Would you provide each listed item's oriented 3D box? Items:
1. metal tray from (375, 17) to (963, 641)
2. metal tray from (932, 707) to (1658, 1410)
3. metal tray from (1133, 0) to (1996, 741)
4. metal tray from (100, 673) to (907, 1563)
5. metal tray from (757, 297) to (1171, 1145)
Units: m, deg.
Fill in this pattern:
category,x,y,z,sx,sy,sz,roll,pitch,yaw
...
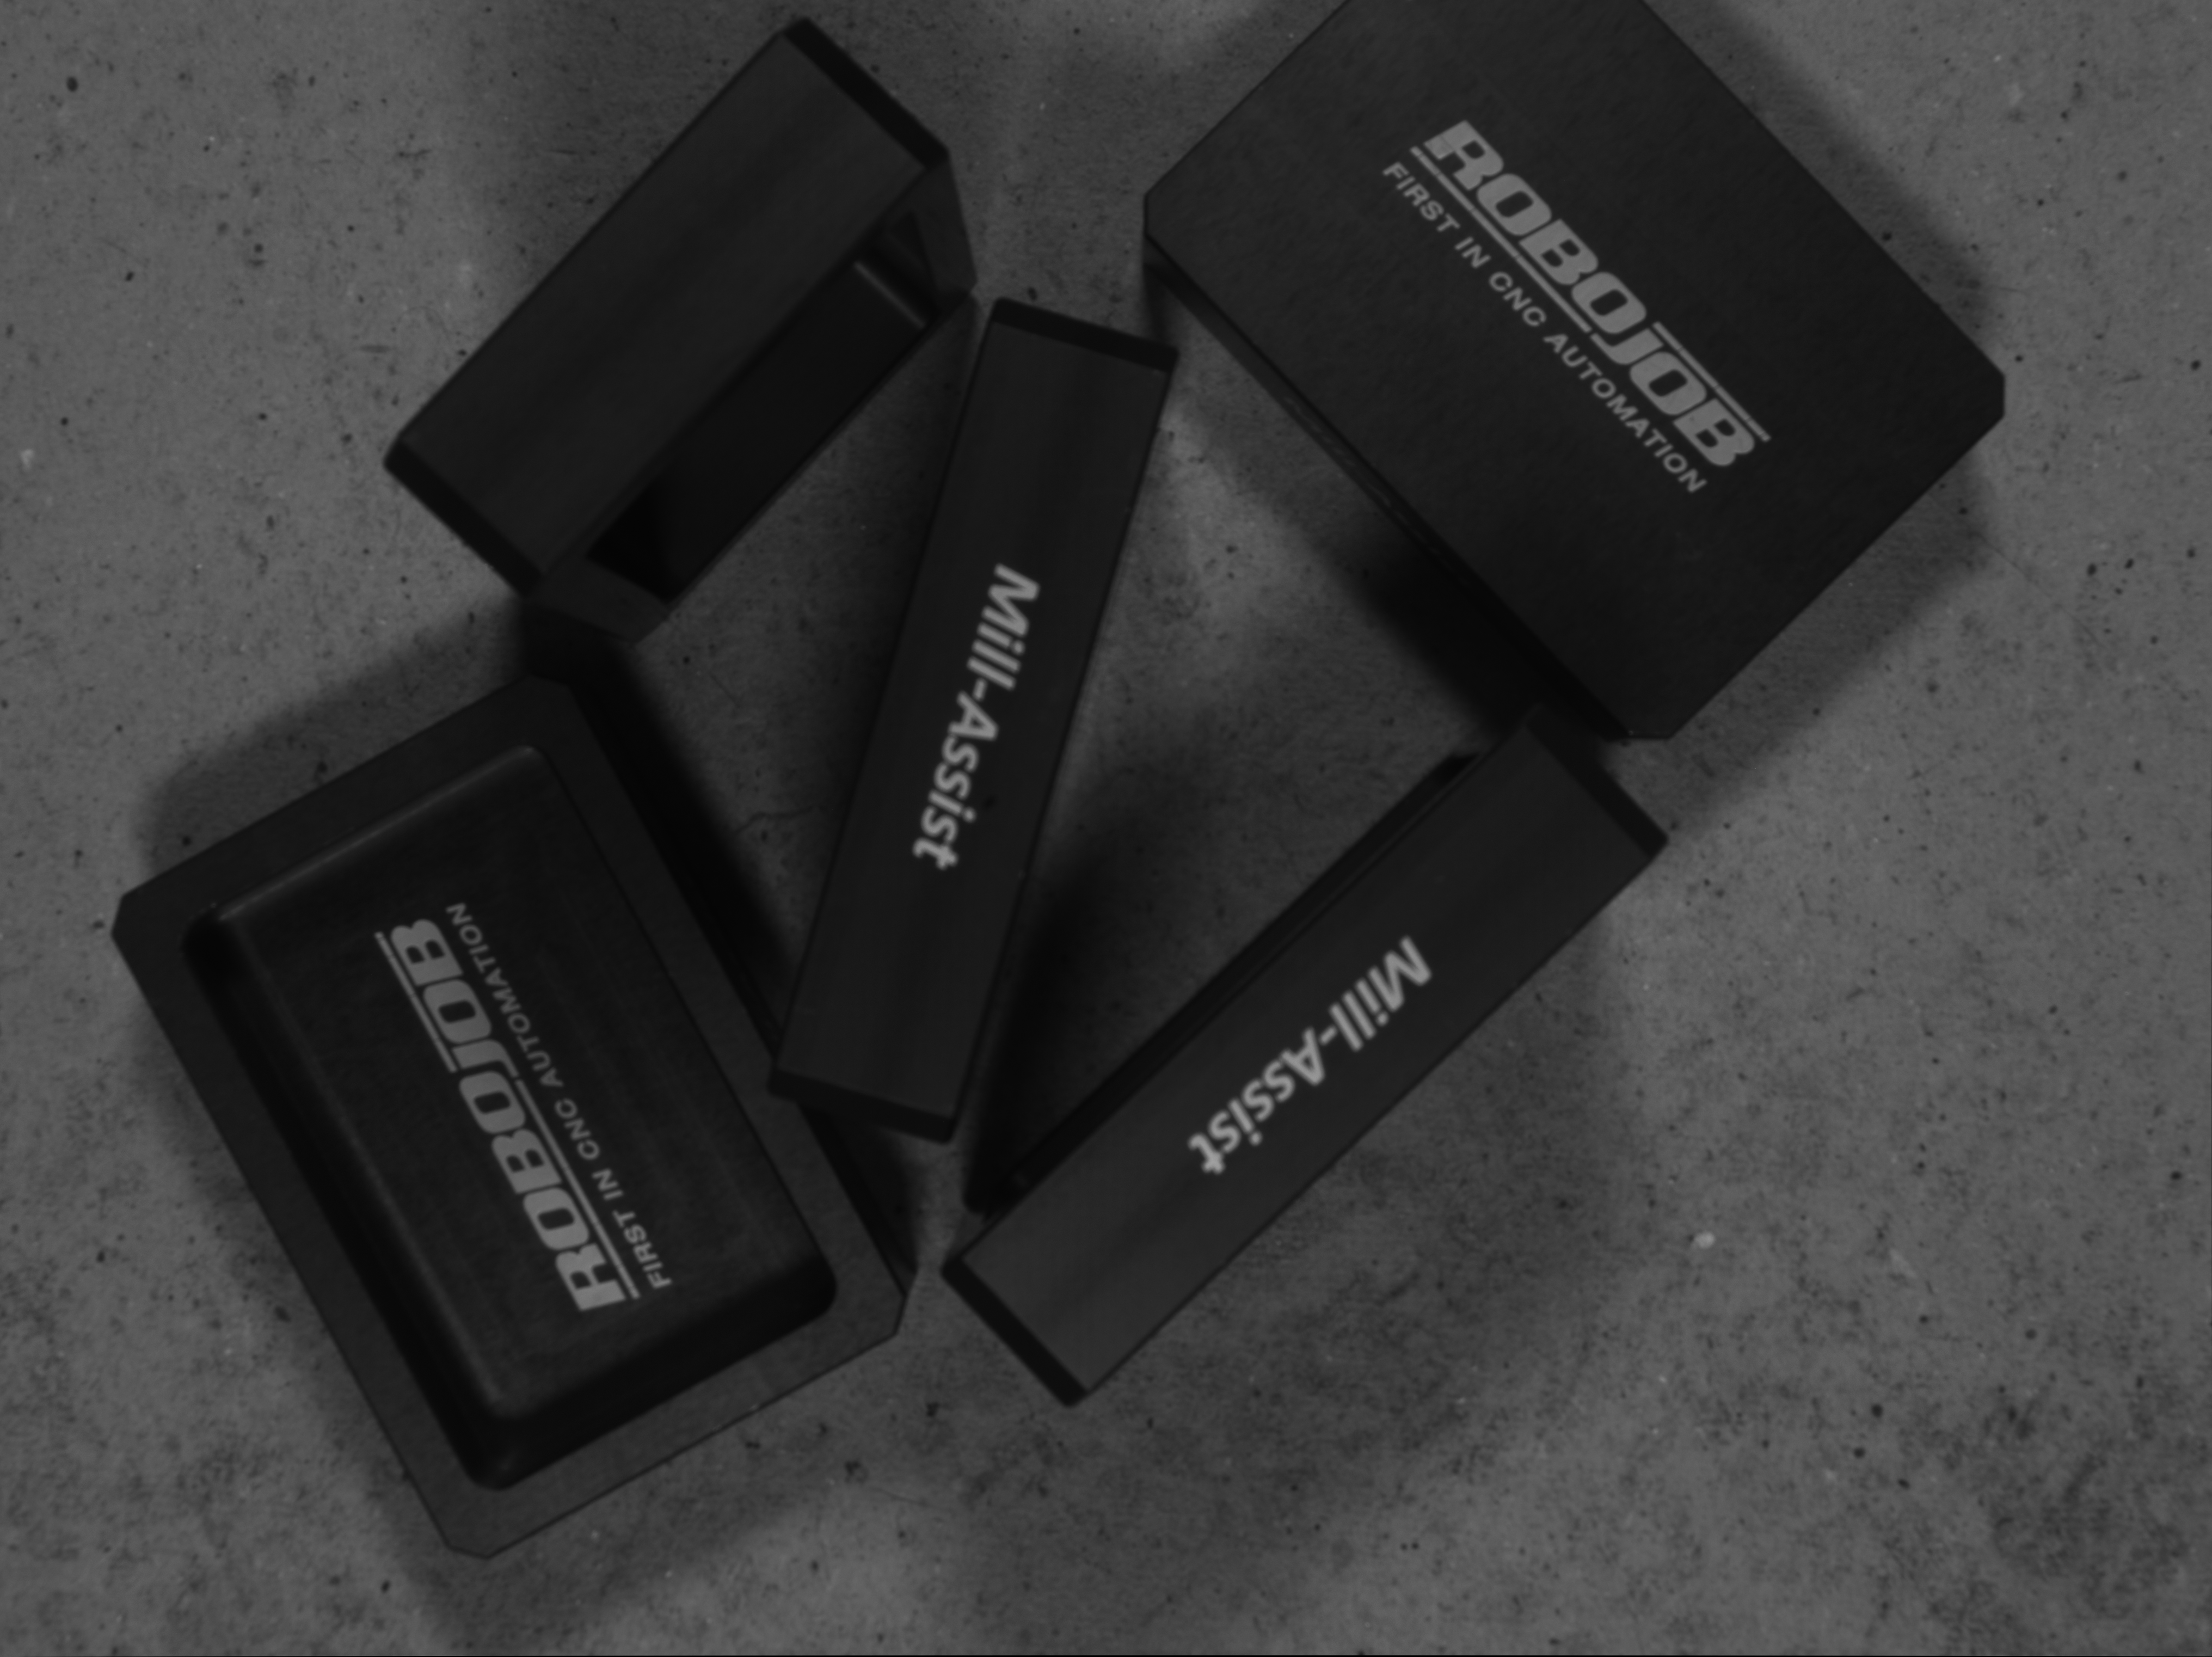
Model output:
category,x,y,z,sx,sy,sz,roll,pitch,yaw
metal tray,-0.066,-0.075,0.592,0.030,0.130,0.090,43,89,0
metal tray,0.029,0.036,0.613,0.130,0.090,0.030,-44,90,0
metal tray,0.079,-0.090,0.644,0.090,0.030,0.130,-44,90,0
metal tray,-0.104,0.050,0.642,0.090,0.030,0.130,-29,90,0
metal tray,-0.022,-0.017,0.612,0.030,0.090,0.130,16,90,0
